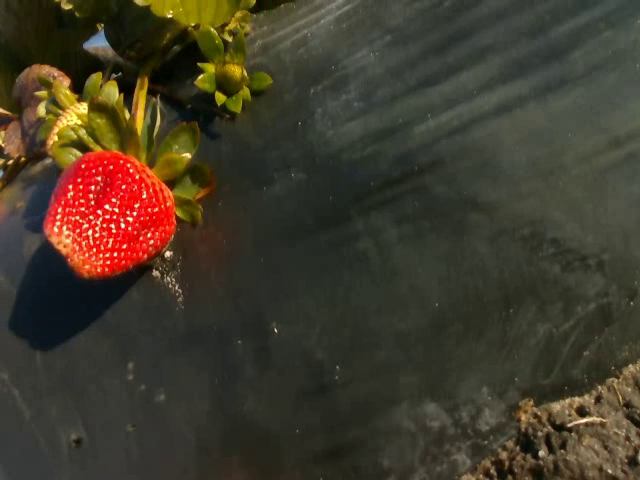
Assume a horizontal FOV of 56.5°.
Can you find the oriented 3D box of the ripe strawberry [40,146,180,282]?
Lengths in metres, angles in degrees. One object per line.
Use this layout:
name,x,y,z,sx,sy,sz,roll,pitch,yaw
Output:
ripe strawberry,-0.069,-0.003,0.192,0.042,0.042,0.059,-11,38,11
